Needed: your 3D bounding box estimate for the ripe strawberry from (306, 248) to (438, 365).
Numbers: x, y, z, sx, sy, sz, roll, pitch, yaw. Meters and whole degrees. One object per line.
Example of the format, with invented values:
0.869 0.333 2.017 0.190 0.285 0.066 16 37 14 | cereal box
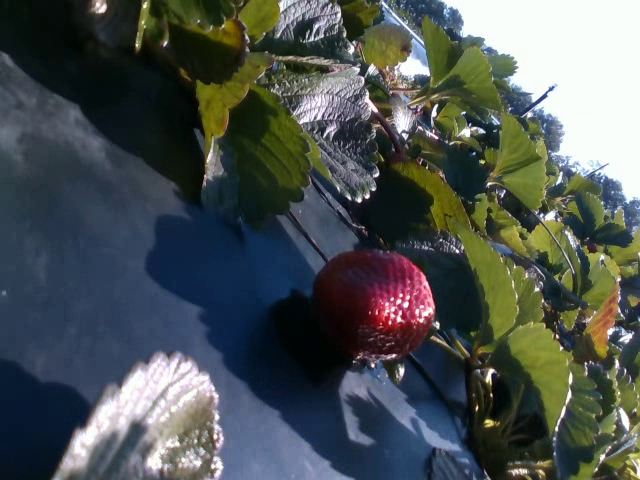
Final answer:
0.015 0.021 0.181 0.044 0.042 0.055 4 -4 17 | ripe strawberry
